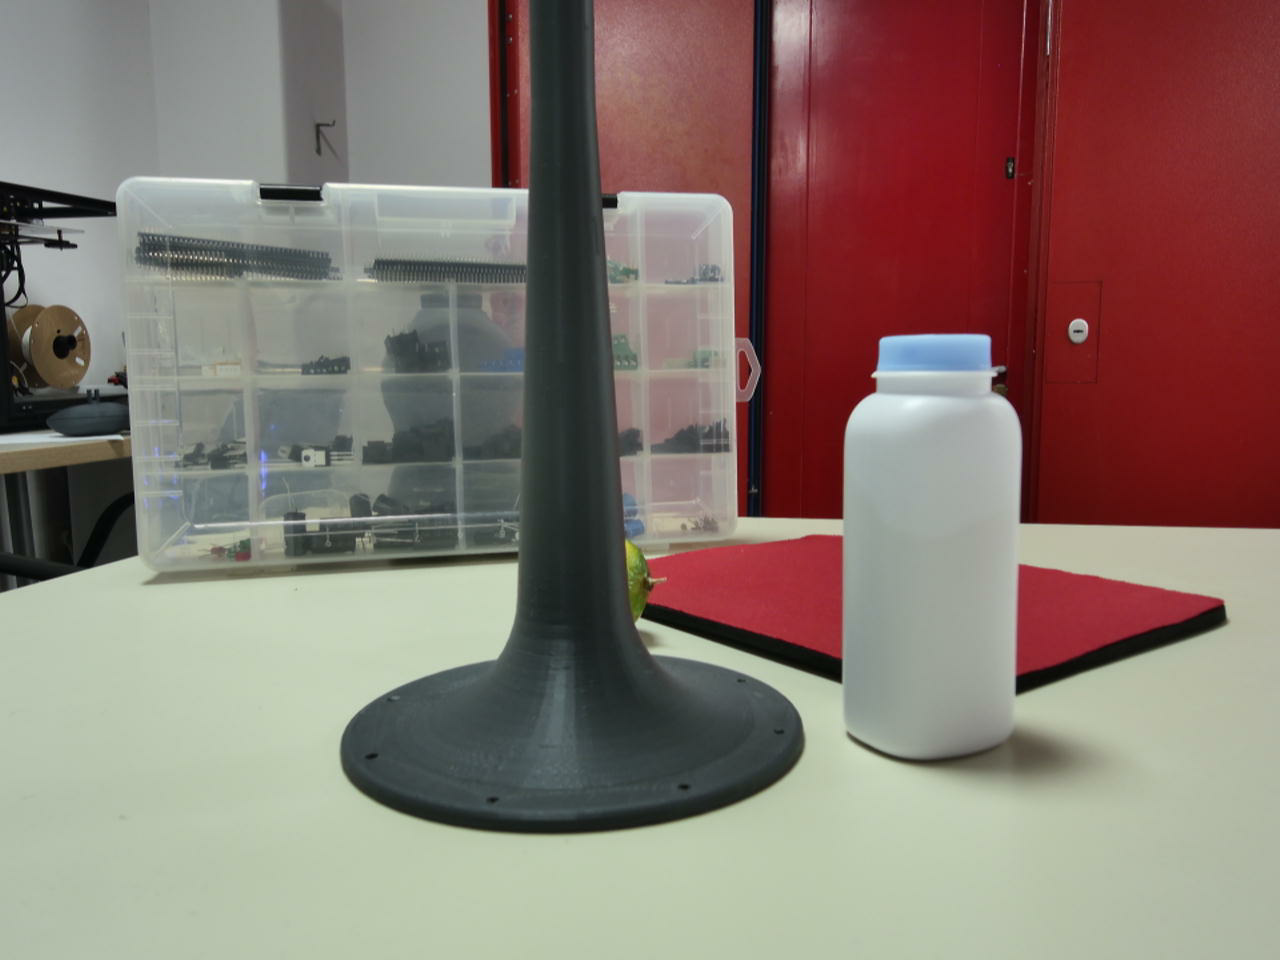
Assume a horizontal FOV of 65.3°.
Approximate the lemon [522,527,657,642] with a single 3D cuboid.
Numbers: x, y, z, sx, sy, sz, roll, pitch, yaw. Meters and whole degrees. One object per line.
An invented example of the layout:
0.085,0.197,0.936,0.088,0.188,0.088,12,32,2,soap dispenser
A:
-0.024,0.046,0.447,0.054,0.050,0.055,-4,5,-28,lemon
